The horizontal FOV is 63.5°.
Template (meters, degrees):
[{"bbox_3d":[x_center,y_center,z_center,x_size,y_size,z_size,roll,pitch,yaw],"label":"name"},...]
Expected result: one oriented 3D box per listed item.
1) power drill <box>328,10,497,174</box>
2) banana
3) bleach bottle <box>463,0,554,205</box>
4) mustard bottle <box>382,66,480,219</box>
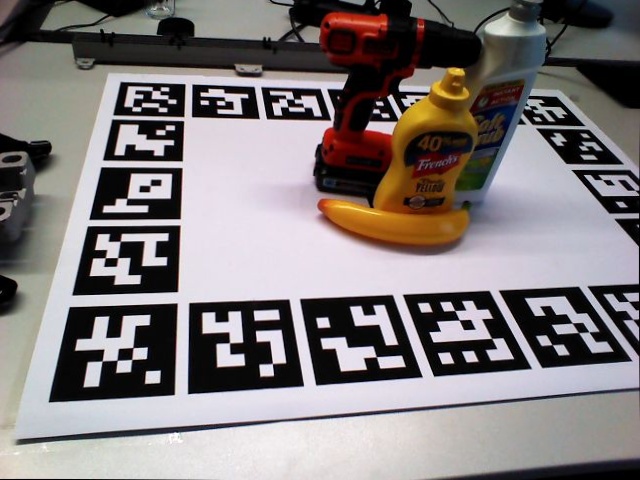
[{"bbox_3d":[0.090,-0.167,0.609,0.185,0.188,0.057,9,43,-3],"label":"power drill"},{"bbox_3d":[0.110,-0.021,0.617,0.197,0.039,0.074,2,46,-5],"label":"banana"},{"bbox_3d":[0.201,-0.161,0.617,0.102,0.252,0.067,1,40,-8],"label":"bleach bottle"},{"bbox_3d":[0.137,-0.102,0.581,0.096,0.192,0.058,0,45,-11],"label":"mustard bottle"}]
